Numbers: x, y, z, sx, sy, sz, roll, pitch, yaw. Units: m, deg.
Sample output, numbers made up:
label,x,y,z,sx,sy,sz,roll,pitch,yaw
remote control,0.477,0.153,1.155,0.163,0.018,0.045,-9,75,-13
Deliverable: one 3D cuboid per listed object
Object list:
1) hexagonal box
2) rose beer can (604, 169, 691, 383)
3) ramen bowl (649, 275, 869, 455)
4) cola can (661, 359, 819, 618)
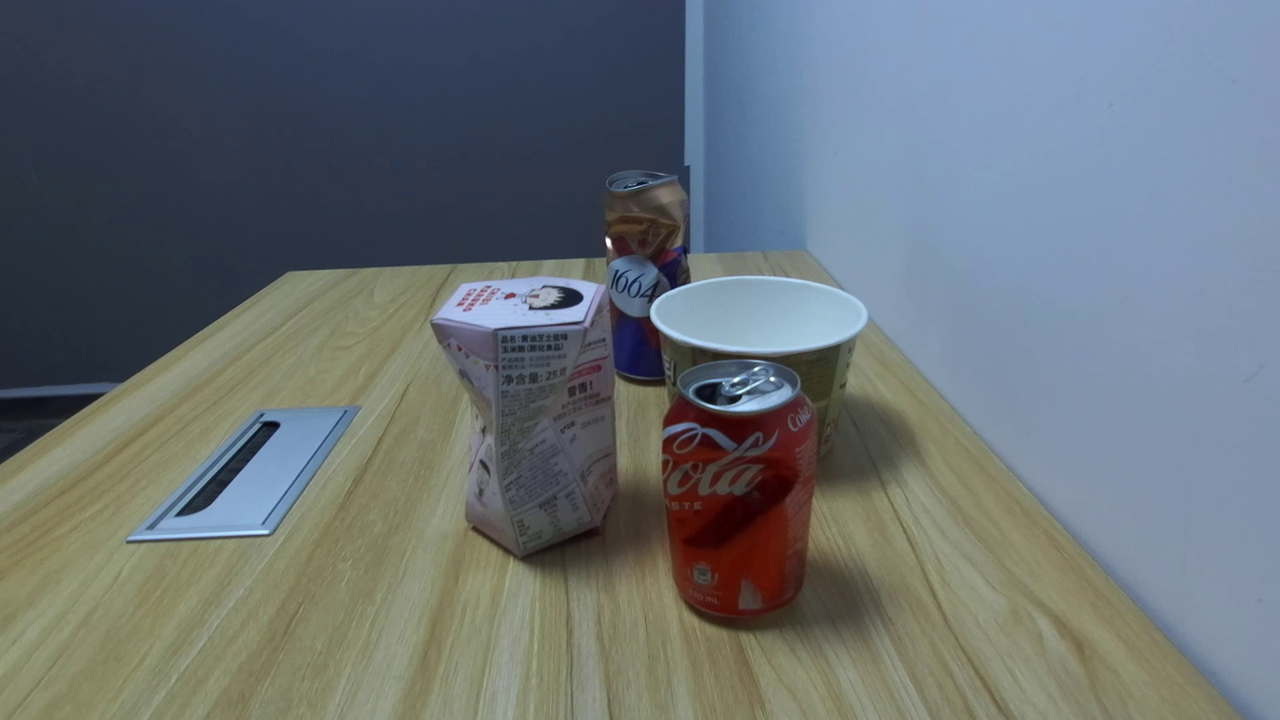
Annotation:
label,x,y,z,sx,sy,sz,roll,pitch,yaw
hexagonal box,-0.058,0.027,0.394,0.093,0.135,0.088,-14,26,-23
rose beer can,0.007,-0.064,0.558,0.073,0.162,0.068,-1,23,11
ramen bowl,0.074,0.008,0.467,0.140,0.095,0.140,-1,25,1
cola can,0.047,0.061,0.333,0.065,0.117,0.066,7,24,23
